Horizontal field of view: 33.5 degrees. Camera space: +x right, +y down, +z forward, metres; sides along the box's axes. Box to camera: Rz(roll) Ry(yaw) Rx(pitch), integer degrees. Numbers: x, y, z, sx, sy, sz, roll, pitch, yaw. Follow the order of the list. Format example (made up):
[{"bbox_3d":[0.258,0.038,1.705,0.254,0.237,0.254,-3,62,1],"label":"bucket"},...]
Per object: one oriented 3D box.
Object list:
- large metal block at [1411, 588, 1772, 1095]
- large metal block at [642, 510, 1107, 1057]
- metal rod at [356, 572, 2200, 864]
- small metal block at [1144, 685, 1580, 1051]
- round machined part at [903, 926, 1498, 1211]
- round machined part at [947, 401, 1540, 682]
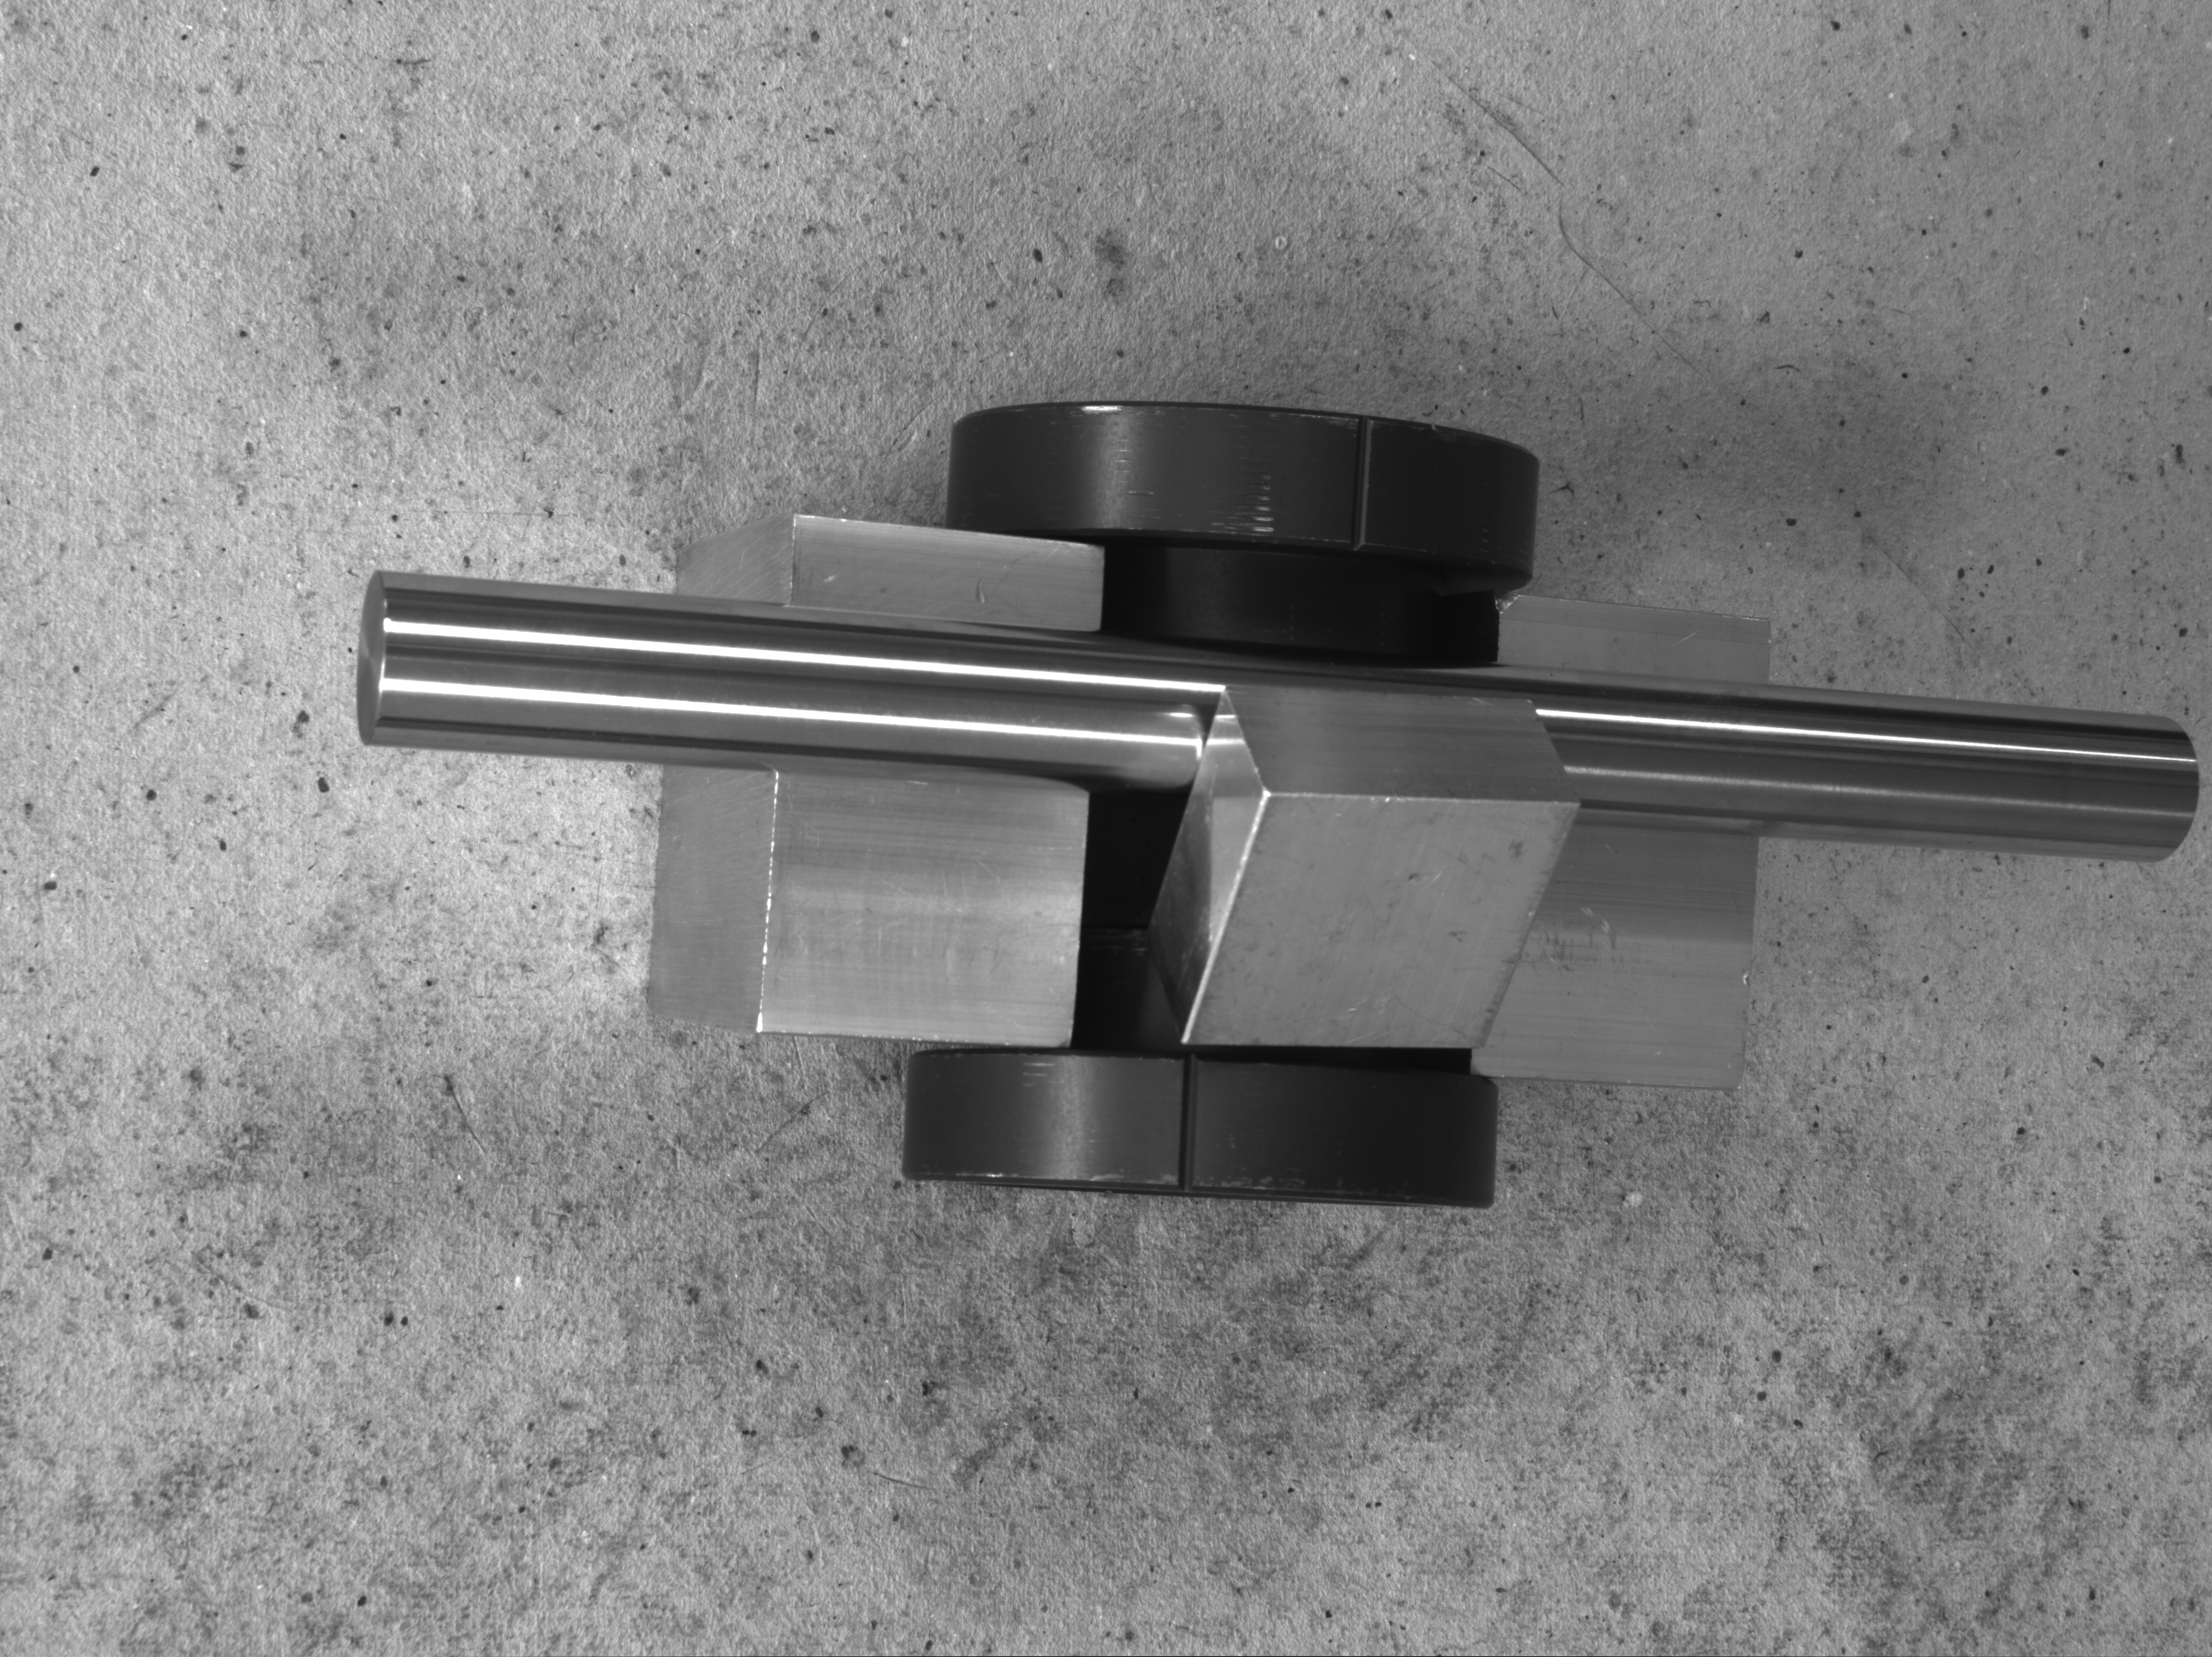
[{"bbox_3d":[0.072,0.003,0.641,0.050,0.080,0.080,4,89,-20],"label":"large metal block"},{"bbox_3d":[-0.040,-0.006,0.600,0.050,0.080,0.080,5,88,-20],"label":"large metal block"},{"bbox_3d":[0.037,-0.015,0.572,0.301,0.025,0.025,4,89,-20],"label":"metal rod"},{"bbox_3d":[0.038,0.007,0.558,0.050,0.025,0.050,2,130,-18],"label":"small metal block"},{"bbox_3d":[0.016,0.040,0.611,0.098,0.098,0.042,5,83,-20],"label":"round machined part"},{"bbox_3d":[0.022,-0.043,0.613,0.098,0.098,0.042,4,89,-20],"label":"round machined part"}]
